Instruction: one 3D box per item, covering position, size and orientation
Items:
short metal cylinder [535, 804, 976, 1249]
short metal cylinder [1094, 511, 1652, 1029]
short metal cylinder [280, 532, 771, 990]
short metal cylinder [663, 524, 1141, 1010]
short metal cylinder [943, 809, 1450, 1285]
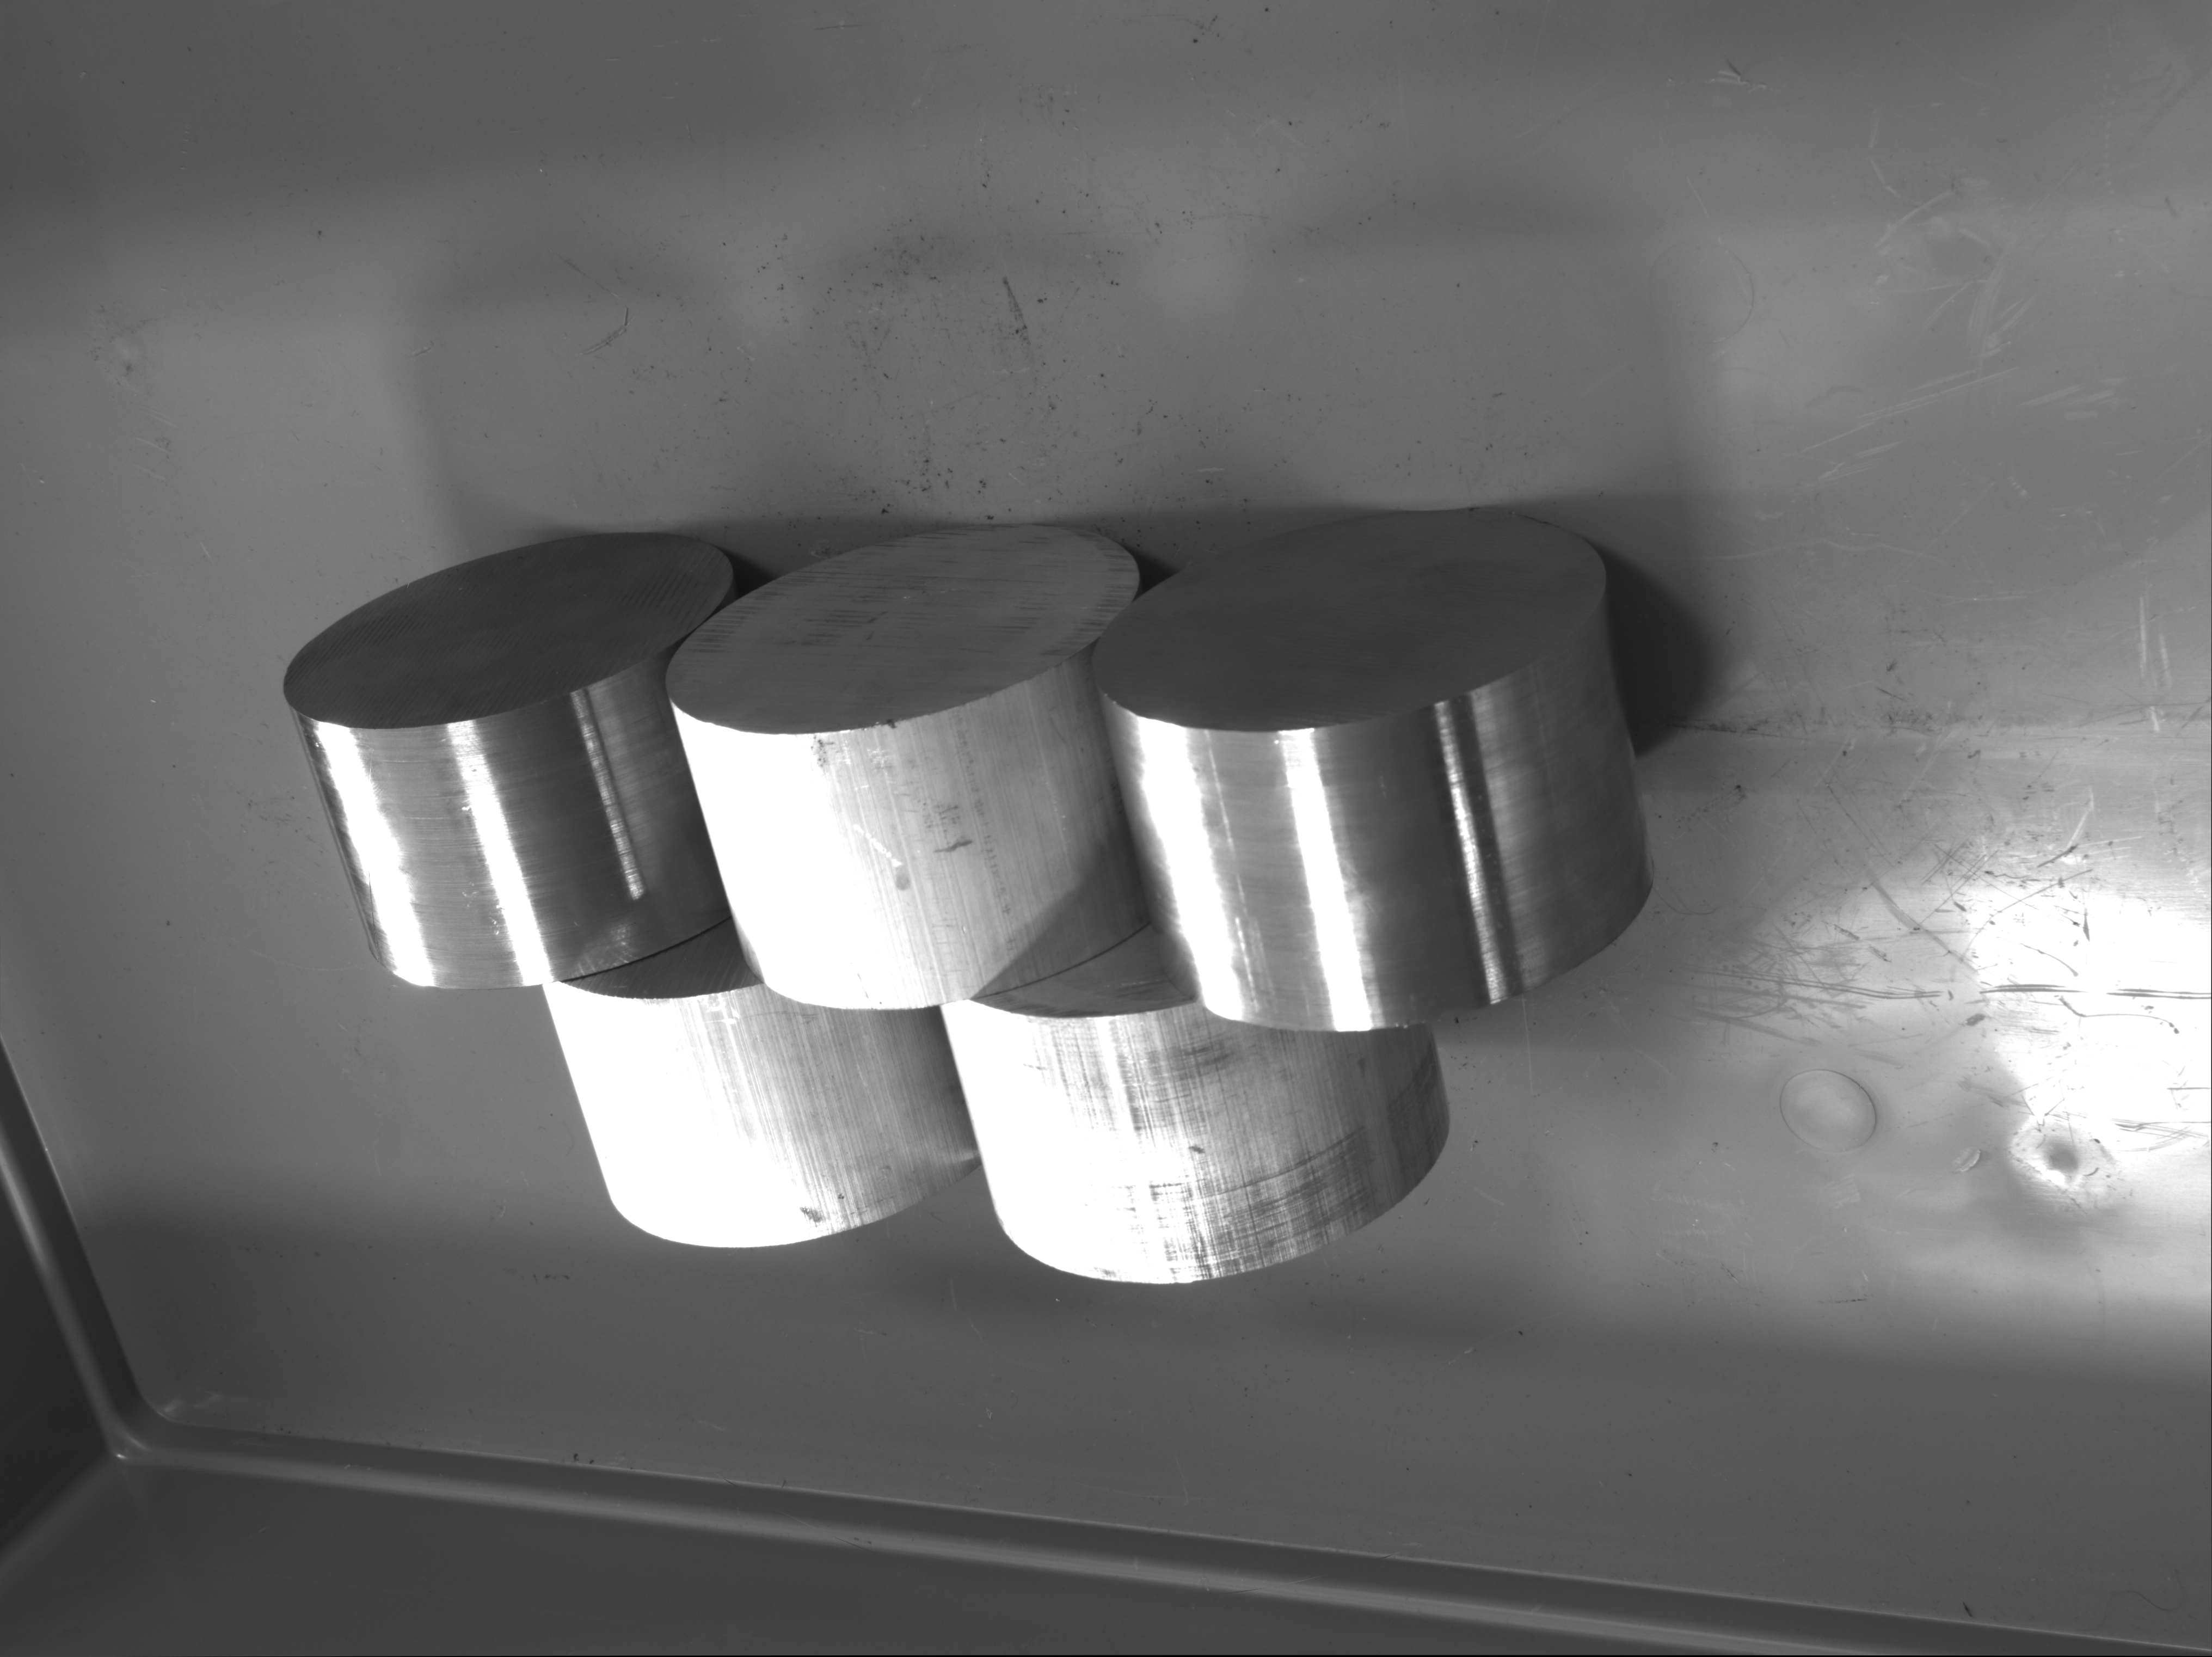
[{"bbox_3d":[-0.058,0.032,0.656,0.080,0.080,0.050,1,119,28],"label":"short metal cylinder"},{"bbox_3d":[0.042,-0.011,0.576,0.080,0.080,0.050,2,119,28],"label":"short metal cylinder"},{"bbox_3d":[-0.100,-0.013,0.651,0.080,0.080,0.050,1,119,28],"label":"short metal cylinder"},{"bbox_3d":[-0.029,-0.012,0.613,0.080,0.080,0.050,1,119,28],"label":"short metal cylinder"},{"bbox_3d":[0.014,0.033,0.618,0.080,0.080,0.050,1,119,28],"label":"short metal cylinder"}]
